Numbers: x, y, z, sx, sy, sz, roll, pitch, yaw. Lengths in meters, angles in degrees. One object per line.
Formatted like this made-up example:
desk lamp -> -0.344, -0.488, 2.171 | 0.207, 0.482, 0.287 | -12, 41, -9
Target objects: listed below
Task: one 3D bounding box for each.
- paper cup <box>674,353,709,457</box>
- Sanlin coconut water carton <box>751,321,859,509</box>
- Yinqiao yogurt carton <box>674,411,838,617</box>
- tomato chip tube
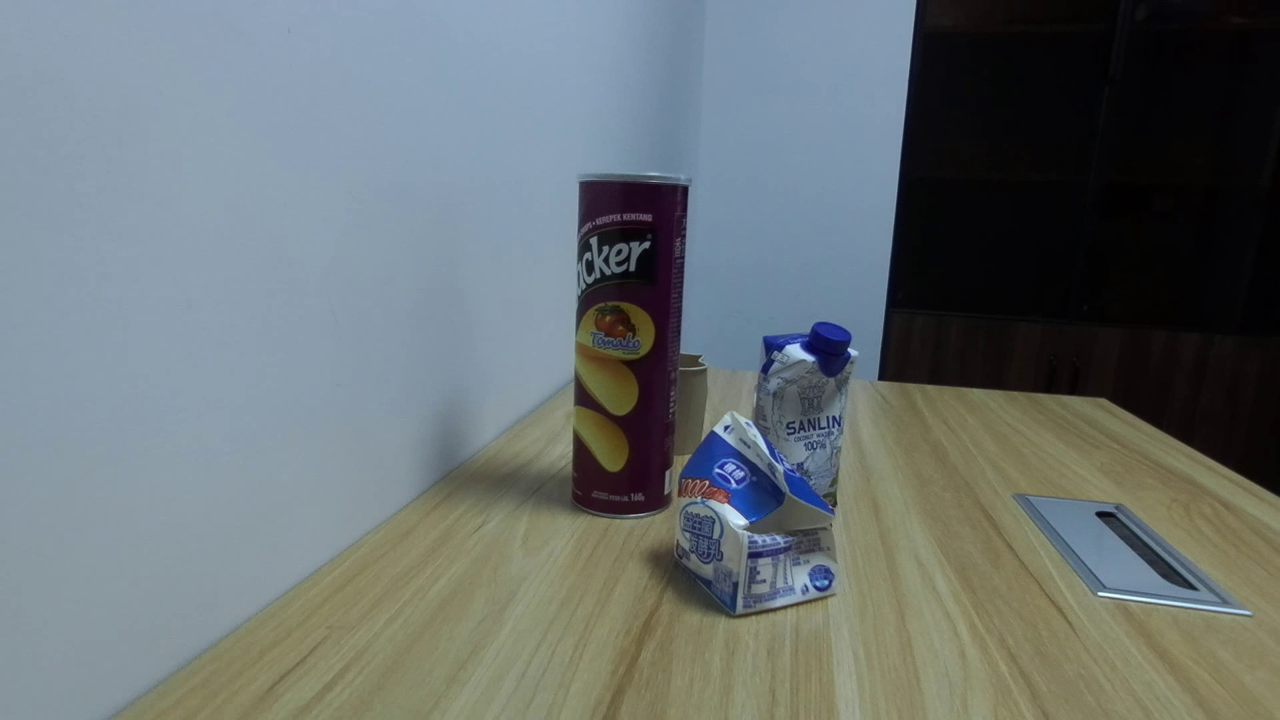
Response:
paper cup -> 0.030, 0.039, 0.644 | 0.073, 0.081, 0.069 | 7, 14, 30
Sanlin coconut water carton -> 0.119, 0.040, 0.519 | 0.078, 0.142, 0.057 | -4, 19, -32
Yinqiao yogurt carton -> 0.067, 0.082, 0.412 | 0.077, 0.093, 0.083 | -2, 13, -25
tomato chip tube -> -0.008, -0.010, 0.506 | 0.078, 0.233, 0.078 | 2, 11, 0
